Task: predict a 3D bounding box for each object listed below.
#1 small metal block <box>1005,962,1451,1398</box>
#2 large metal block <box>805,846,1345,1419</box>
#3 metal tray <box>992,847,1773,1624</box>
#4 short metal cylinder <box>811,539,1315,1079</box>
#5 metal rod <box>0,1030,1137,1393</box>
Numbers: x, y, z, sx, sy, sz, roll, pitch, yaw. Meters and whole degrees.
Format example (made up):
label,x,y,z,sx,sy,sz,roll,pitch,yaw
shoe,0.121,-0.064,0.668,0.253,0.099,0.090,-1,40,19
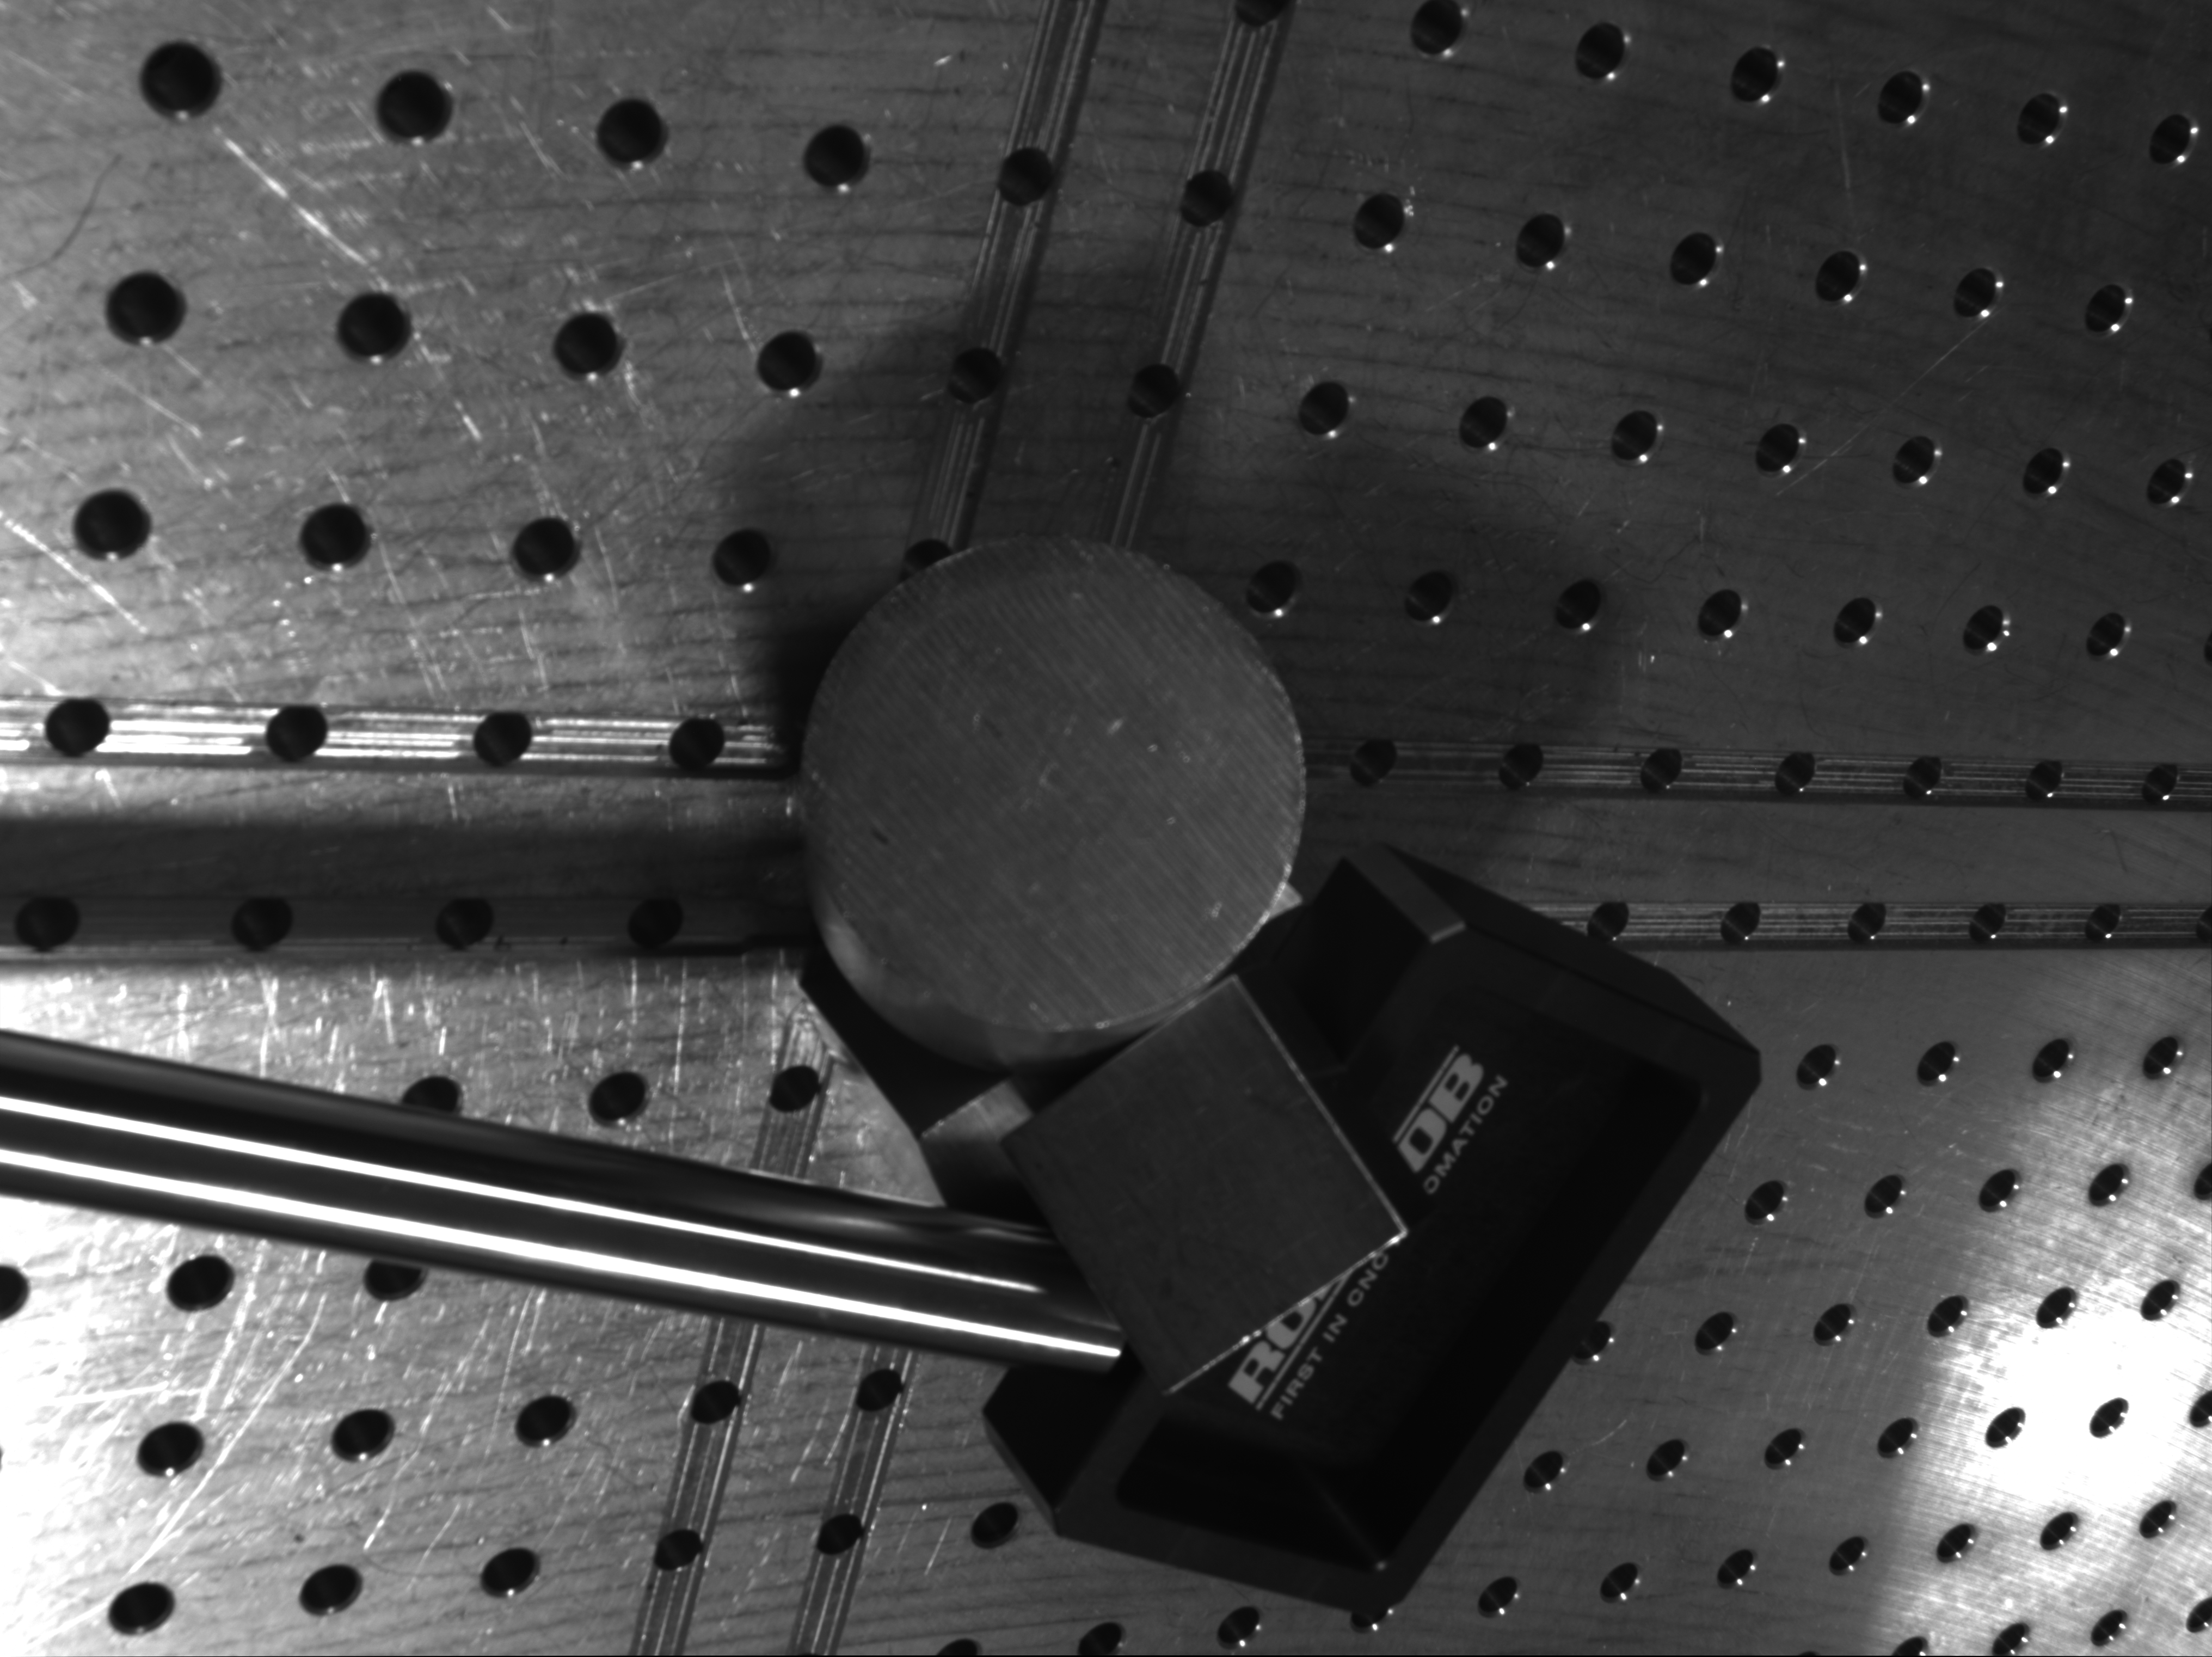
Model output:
label,x,y,z,sx,sy,sz,roll,pitch,yaw
small metal block,0.020,0.058,0.607,0.050,0.050,0.025,-36,172,16
large metal block,0.003,0.049,0.668,0.080,0.050,0.080,-31,129,-10
metal tray,0.050,0.076,0.658,0.090,0.030,0.130,23,105,-38
short metal cylinder,-0.009,-0.002,0.604,0.080,0.080,0.050,-31,172,-10
metal rod,-0.132,0.052,0.570,0.301,0.025,0.025,14,111,-23
